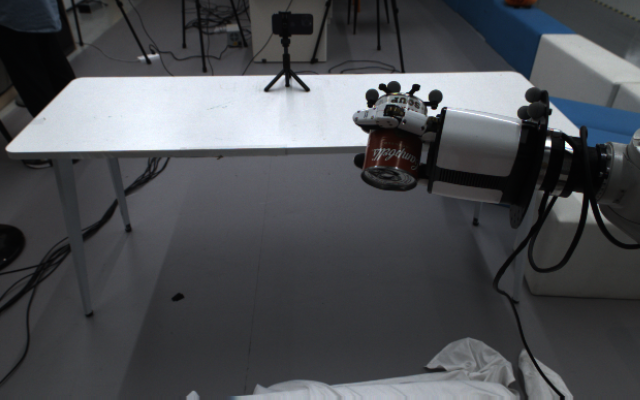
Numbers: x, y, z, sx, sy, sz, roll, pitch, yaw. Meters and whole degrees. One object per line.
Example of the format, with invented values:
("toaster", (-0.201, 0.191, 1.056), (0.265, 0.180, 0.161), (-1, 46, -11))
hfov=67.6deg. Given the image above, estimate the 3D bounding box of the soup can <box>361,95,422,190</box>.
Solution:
("soup can", (0.092, -0.070, 0.587), (0.067, 0.067, 0.101), (9, 70, 10))
